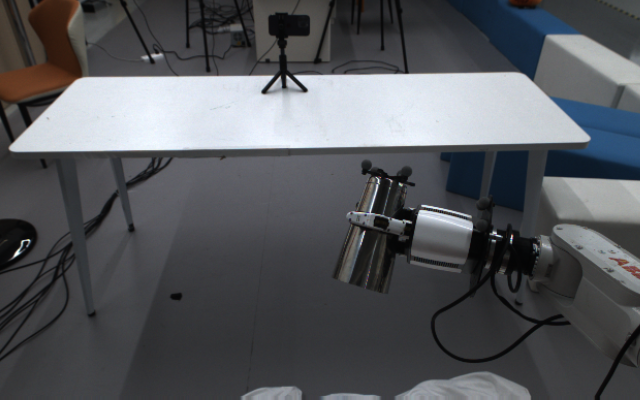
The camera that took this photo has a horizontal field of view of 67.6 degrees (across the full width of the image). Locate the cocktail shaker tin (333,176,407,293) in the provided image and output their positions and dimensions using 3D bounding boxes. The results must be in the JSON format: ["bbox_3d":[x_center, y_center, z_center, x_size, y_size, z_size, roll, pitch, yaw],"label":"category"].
[{"bbox_3d":[0.084,0.052,0.767,0.093,0.170,0.093,16,-6,2],"label":"cocktail shaker tin"}]
